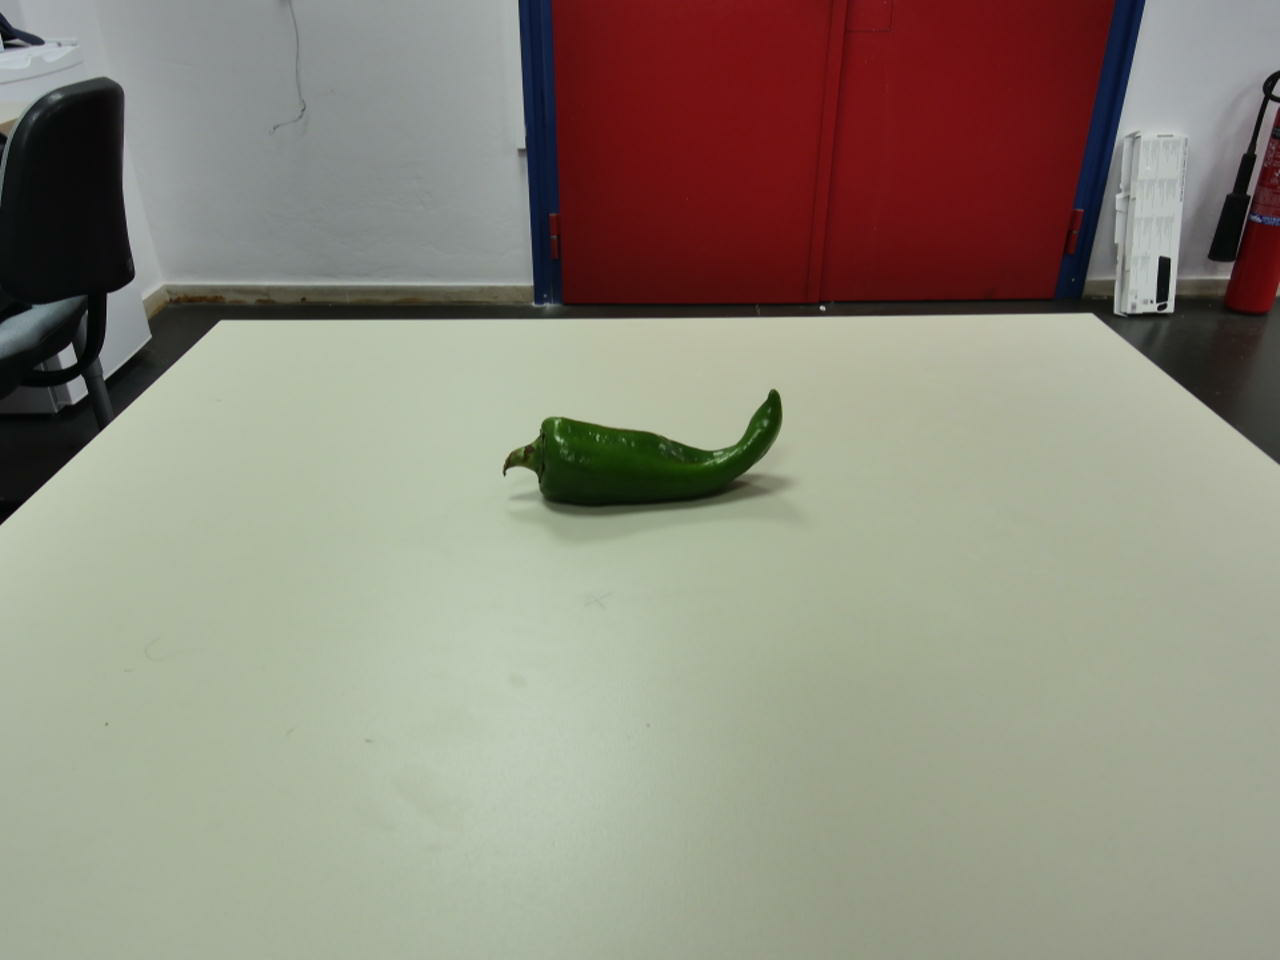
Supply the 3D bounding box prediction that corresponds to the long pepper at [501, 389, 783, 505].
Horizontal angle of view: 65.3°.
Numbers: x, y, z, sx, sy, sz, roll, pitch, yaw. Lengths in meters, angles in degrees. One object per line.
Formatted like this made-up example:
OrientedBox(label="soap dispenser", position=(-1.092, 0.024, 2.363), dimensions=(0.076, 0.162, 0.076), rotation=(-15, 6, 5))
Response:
OrientedBox(label="long pepper", position=(0.002, -0.021, 0.617), dimensions=(0.175, 0.065, 0.058), rotation=(-1, 27, -2))
